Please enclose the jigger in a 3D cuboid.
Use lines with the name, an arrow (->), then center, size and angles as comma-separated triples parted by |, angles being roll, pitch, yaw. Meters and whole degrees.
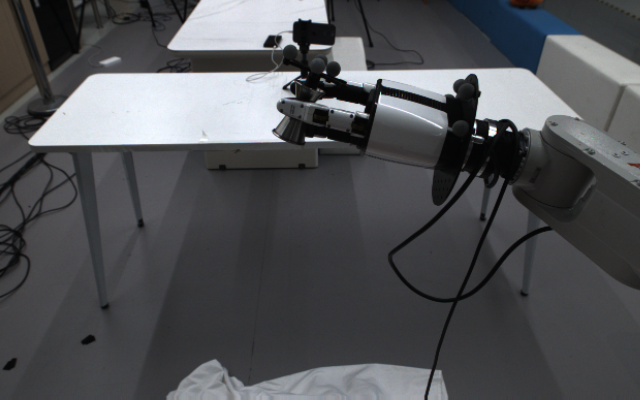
jigger -> -0.026, -0.105, 0.581 | 0.043, 0.071, 0.043 | 23, 19, -8
